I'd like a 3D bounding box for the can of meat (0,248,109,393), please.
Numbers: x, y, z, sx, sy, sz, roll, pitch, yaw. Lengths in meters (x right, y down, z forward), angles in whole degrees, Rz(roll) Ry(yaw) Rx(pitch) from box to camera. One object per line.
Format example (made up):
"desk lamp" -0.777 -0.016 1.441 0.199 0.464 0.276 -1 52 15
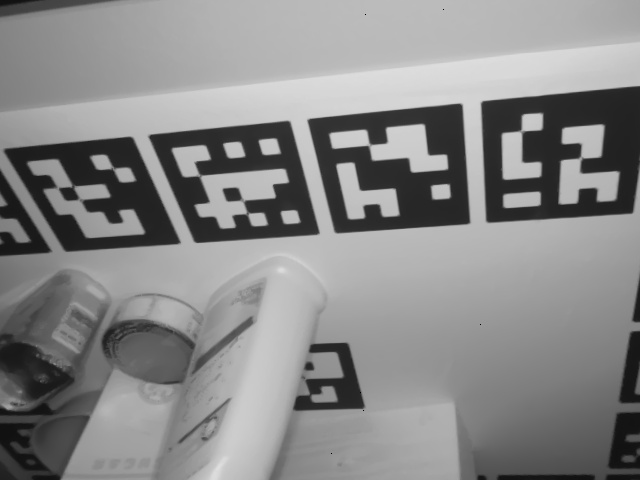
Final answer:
"can of meat" -0.229 0.067 0.584 0.058 0.084 0.100 37 126 -25

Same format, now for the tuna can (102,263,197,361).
"tuna can" -0.138 0.062 0.593 0.085 0.034 0.085 3 126 5

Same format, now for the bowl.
"bowl" -0.196 0.190 0.695 0.162 0.055 0.160 0 129 1

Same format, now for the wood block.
"wood block" 0.062 0.195 0.651 0.204 0.091 0.091 -17 121 20

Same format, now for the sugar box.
"sugar box" -0.150 0.156 0.579 0.093 0.178 0.045 6 128 -2

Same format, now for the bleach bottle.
"bleach bottle" -0.061 0.095 0.475 0.101 0.253 0.068 -32 120 28
